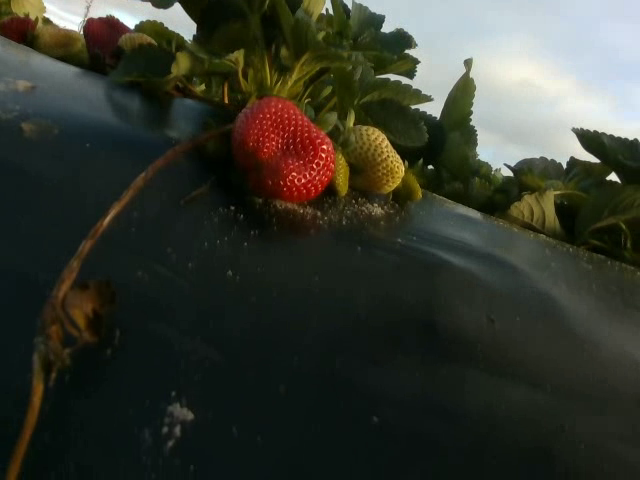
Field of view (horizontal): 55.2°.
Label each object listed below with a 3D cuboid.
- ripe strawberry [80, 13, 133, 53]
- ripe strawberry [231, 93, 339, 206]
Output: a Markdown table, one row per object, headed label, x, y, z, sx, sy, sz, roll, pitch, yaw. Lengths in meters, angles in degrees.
| label | x | y | z | sx | sy | sz | roll | pitch | yaw |
| --- | --- | --- | --- | --- | --- | --- | --- | --- | --- |
| ripe strawberry | -0.160 | -0.149 | 0.486 | 0.058 | 0.071 | 0.057 | -20 | -14 | -38 |
| ripe strawberry | -0.015 | -0.042 | 0.249 | 0.047 | 0.035 | 0.050 | 21 | 32 | 6 |
